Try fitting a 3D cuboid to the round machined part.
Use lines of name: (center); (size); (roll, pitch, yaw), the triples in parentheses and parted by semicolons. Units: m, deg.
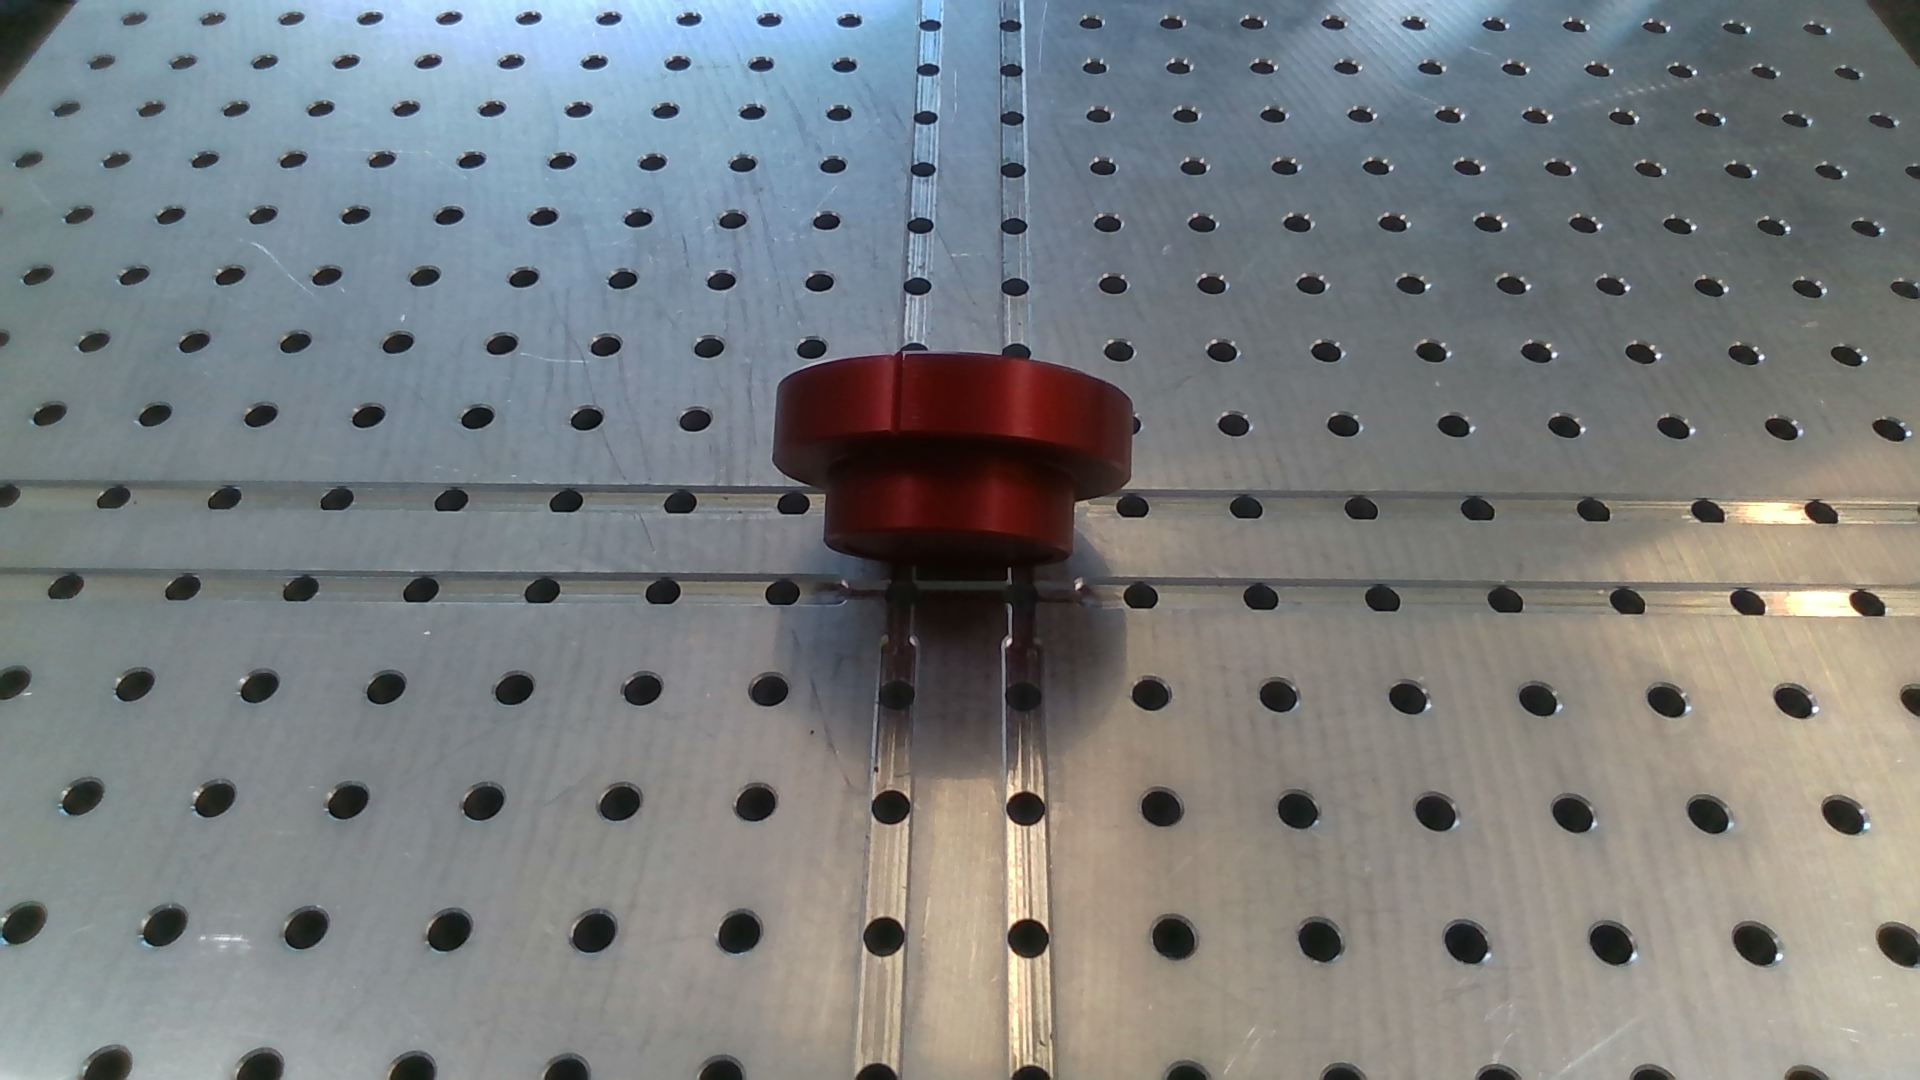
round machined part: (-0.003, -0.018, 0.376); (0.098, 0.098, 0.042); (2, 81, 2)
